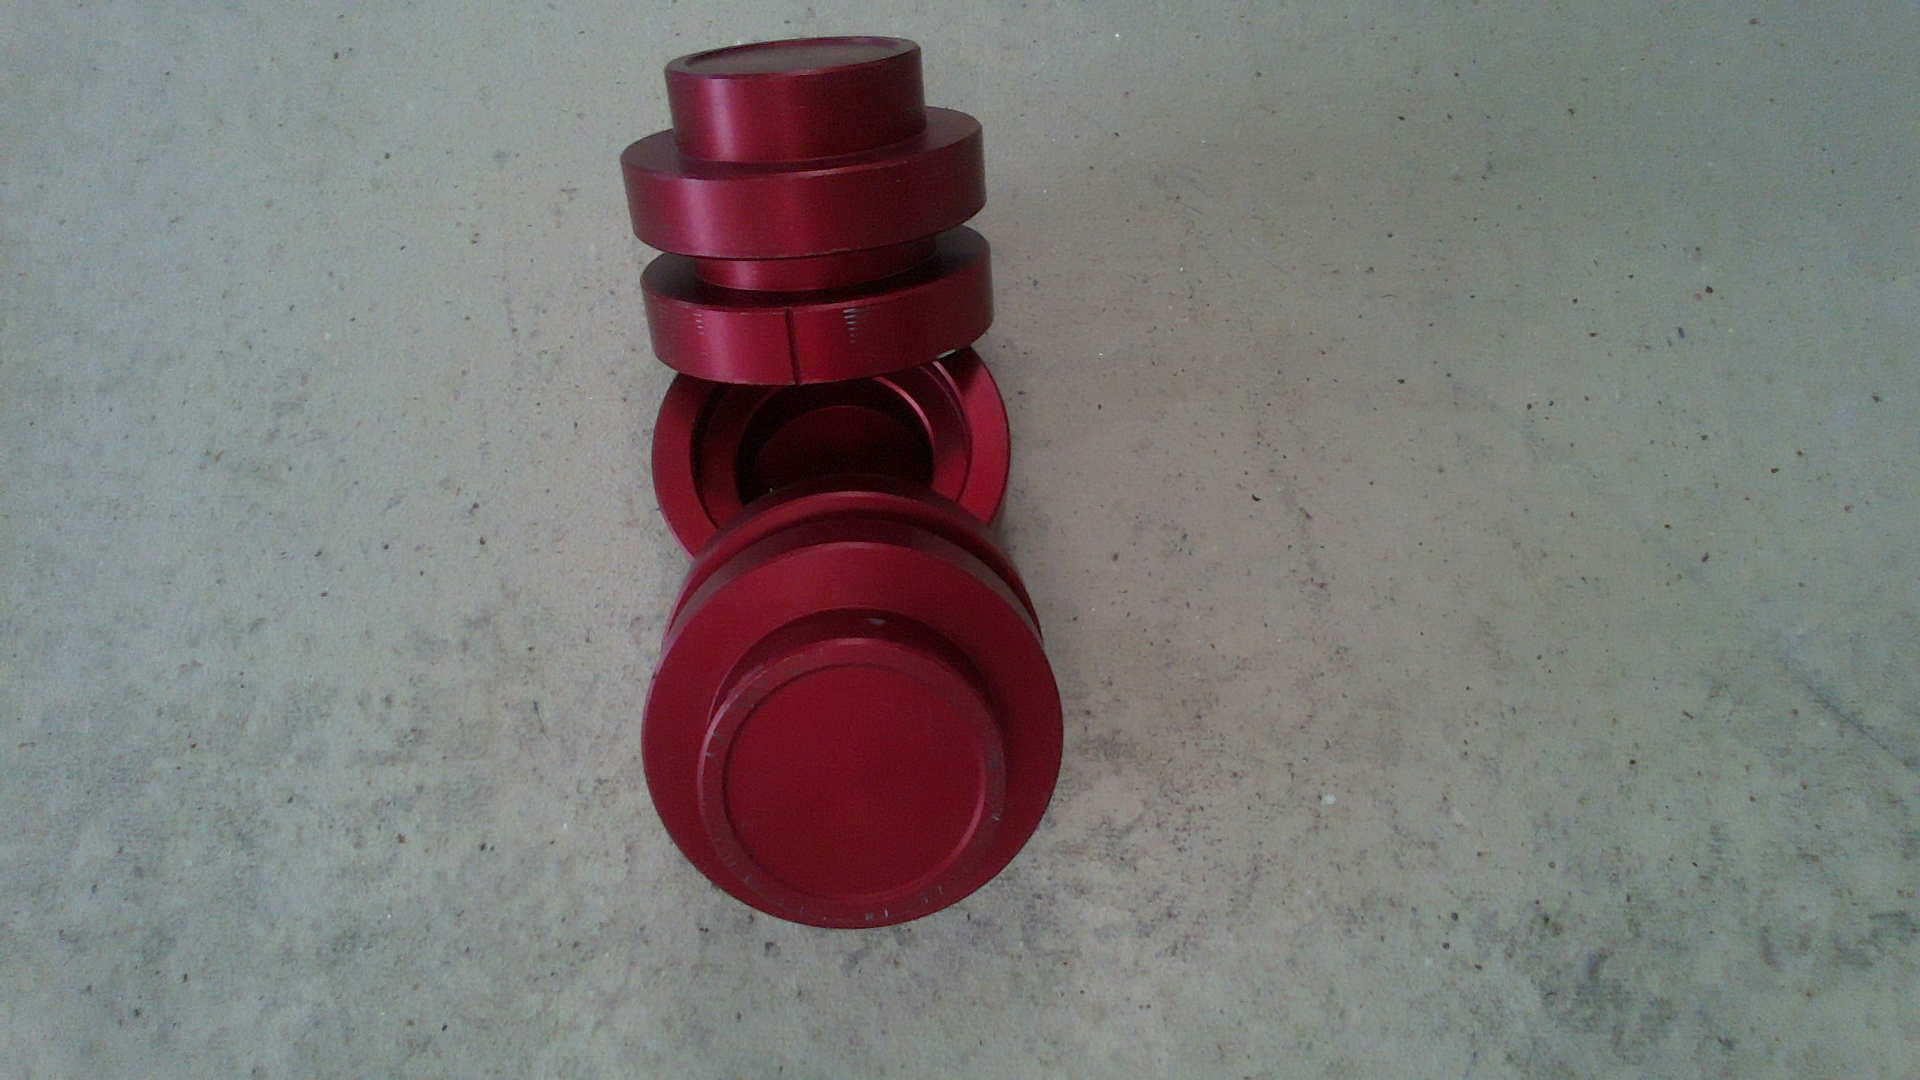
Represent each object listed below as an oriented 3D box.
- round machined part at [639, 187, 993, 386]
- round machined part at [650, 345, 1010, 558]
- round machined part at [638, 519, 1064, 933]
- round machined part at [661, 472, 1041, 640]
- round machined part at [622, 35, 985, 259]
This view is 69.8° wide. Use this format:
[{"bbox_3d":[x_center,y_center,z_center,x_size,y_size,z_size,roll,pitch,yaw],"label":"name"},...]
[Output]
[{"bbox_3d":[-0.041,-0.080,0.386,0.098,0.042,0.098,-3,27,2],"label":"round machined part"},{"bbox_3d":[-0.035,-0.019,0.394,0.098,0.042,0.098,0,70,0],"label":"round machined part"},{"bbox_3d":[-0.024,0.048,0.317,0.098,0.042,0.098,-1,106,-4],"label":"round machined part"},{"bbox_3d":[-0.027,0.035,0.346,0.098,0.042,0.098,-1,106,-4],"label":"round machined part"},{"bbox_3d":[-0.043,-0.111,0.375,0.098,0.042,0.098,-4,27,2],"label":"round machined part"}]
